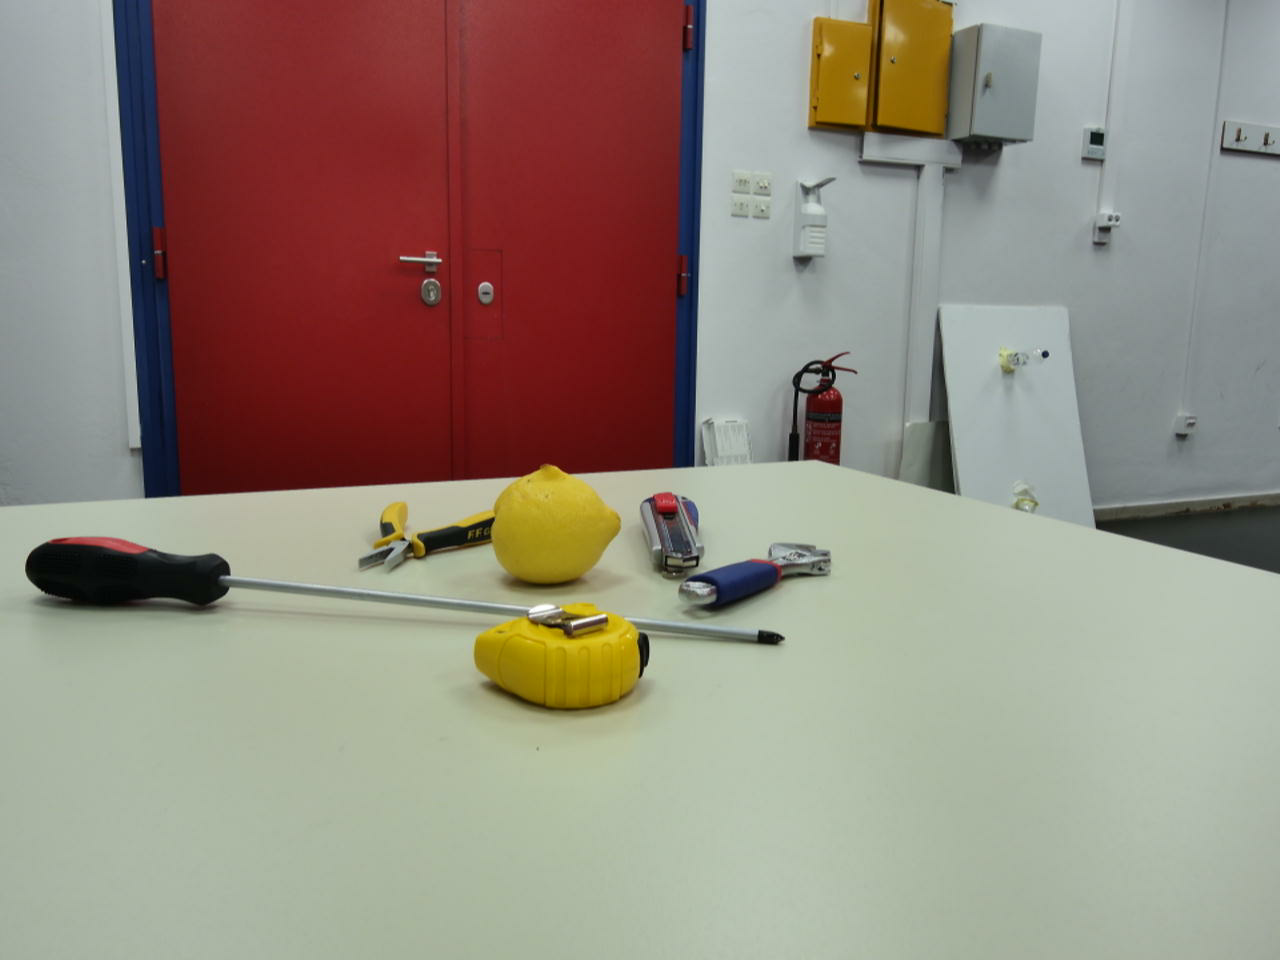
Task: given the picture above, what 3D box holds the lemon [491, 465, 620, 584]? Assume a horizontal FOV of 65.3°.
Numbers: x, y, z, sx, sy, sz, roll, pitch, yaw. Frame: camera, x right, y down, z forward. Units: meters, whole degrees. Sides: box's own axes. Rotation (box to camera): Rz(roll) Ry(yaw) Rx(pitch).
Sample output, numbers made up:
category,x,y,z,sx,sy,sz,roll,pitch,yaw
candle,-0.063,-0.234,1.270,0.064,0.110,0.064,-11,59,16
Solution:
category,x,y,z,sx,sy,sz,roll,pitch,yaw
lemon,-0.055,0.026,0.598,0.071,0.071,0.070,4,9,31
